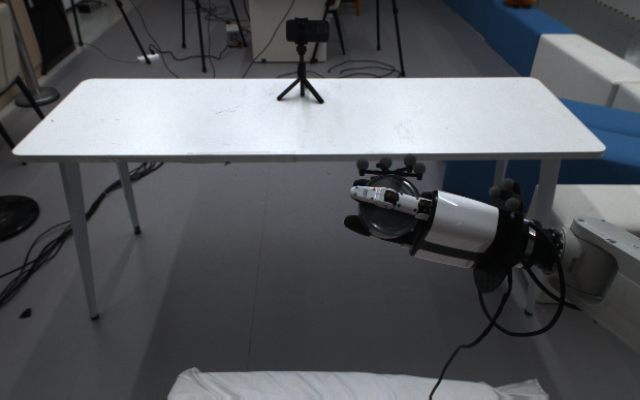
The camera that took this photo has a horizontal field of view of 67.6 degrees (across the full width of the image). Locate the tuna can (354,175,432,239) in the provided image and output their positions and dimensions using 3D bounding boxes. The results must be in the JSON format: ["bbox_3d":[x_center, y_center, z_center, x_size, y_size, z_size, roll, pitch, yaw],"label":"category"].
[{"bbox_3d":[0.097,0.013,0.660,0.085,0.034,0.085,0,75,0],"label":"tuna can"}]
